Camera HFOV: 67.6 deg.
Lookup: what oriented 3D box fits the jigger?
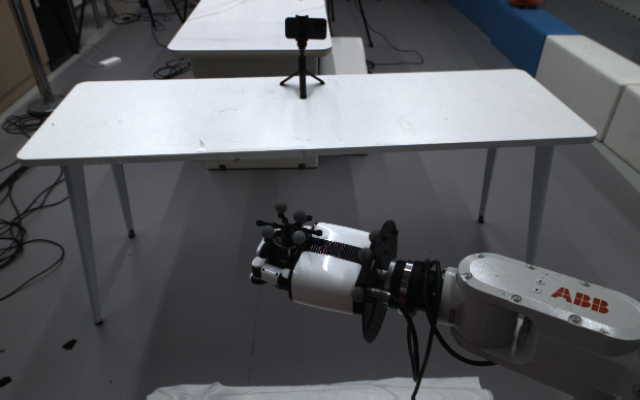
[{"bbox_3d":[-0.043,0.083,0.661,0.043,0.071,0.043,6,26,-3],"label":"jigger"}]
